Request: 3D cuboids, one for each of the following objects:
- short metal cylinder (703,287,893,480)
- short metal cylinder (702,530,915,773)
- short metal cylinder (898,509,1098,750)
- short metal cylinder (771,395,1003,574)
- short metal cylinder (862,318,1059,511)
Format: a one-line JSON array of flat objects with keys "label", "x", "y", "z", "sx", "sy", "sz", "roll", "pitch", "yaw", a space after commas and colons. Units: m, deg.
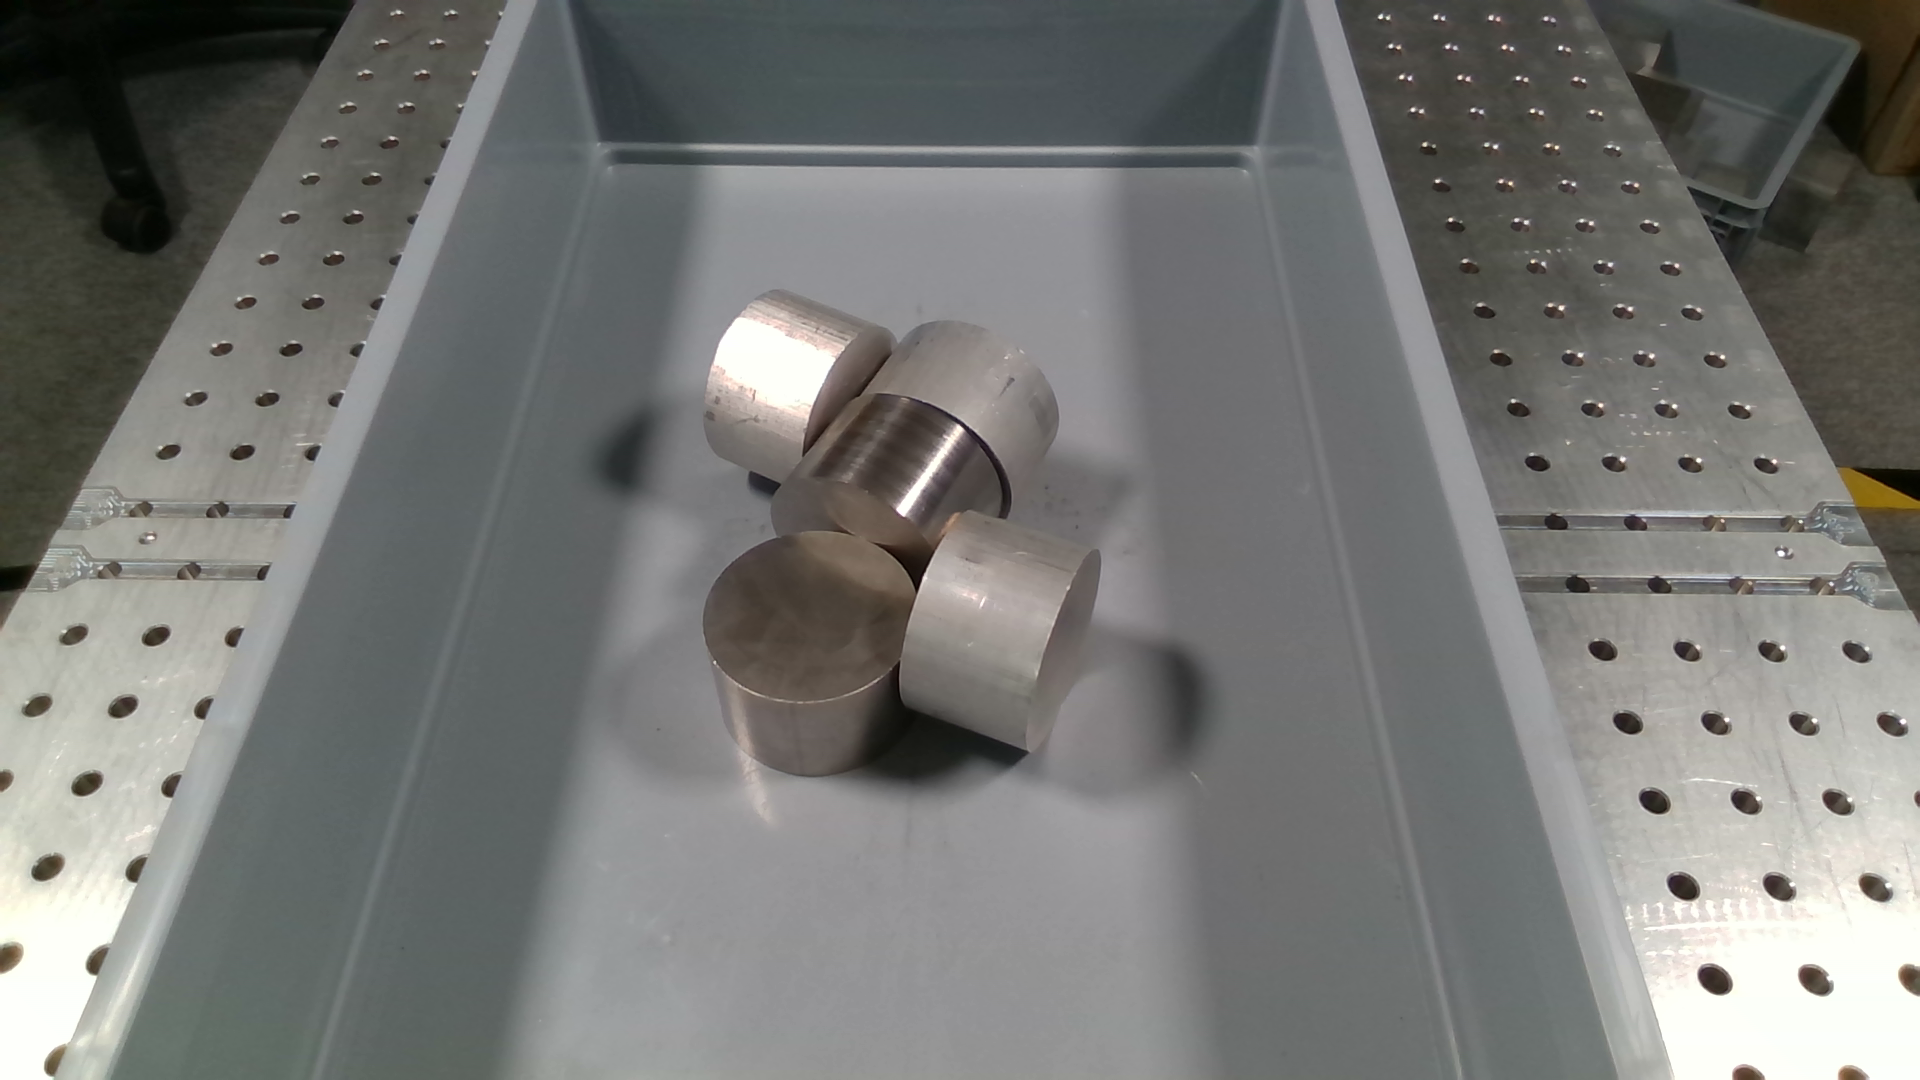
[{"label": "short metal cylinder", "x": -0.068, "y": -0.064, "z": 0.603, "sx": 0.050, "sy": 0.080, "sz": 0.080, "roll": 23, "pitch": 54, "yaw": 18}, {"label": "short metal cylinder", "x": -0.056, "y": 0.043, "z": 0.533, "sx": 0.080, "sy": 0.050, "sz": 0.080, "roll": 0, "pitch": 50, "yaw": 0}, {"label": "short metal cylinder", "x": 0.016, "y": 0.033, "z": 0.522, "sx": 0.050, "sy": 0.080, "sz": 0.080, "roll": 18, "pitch": 52, "yaw": 15}, {"label": "short metal cylinder", "x": -0.030, "y": -0.012, "z": 0.560, "sx": 0.080, "sy": 0.080, "sz": 0.050, "roll": 21, "pitch": 53, "yaw": 17}, {"label": "short metal cylinder", "x": -0.004, "y": -0.047, "z": 0.589, "sx": 0.080, "sy": 0.080, "sz": 0.050, "roll": 20, "pitch": 53, "yaw": 16}]
